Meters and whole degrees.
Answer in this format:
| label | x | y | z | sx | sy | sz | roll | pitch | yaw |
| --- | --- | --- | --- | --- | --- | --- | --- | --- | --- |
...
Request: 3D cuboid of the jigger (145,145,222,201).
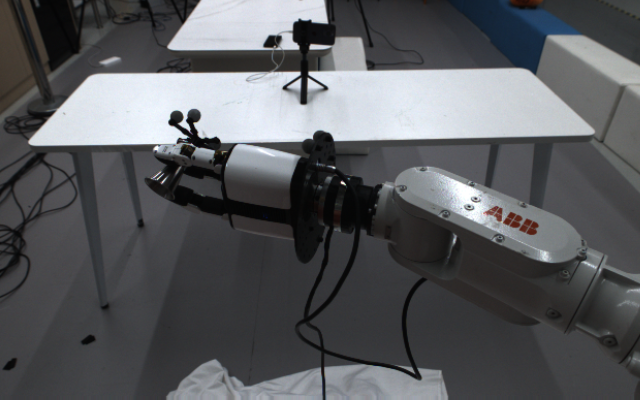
| label | x | y | z | sx | sy | sz | roll | pitch | yaw |
| --- | --- | --- | --- | --- | --- | --- | --- | --- | --- |
| jigger | -0.187 | -0.043 | 0.618 | 0.043 | 0.043 | 0.071 | 19 | 62 | 23 |
